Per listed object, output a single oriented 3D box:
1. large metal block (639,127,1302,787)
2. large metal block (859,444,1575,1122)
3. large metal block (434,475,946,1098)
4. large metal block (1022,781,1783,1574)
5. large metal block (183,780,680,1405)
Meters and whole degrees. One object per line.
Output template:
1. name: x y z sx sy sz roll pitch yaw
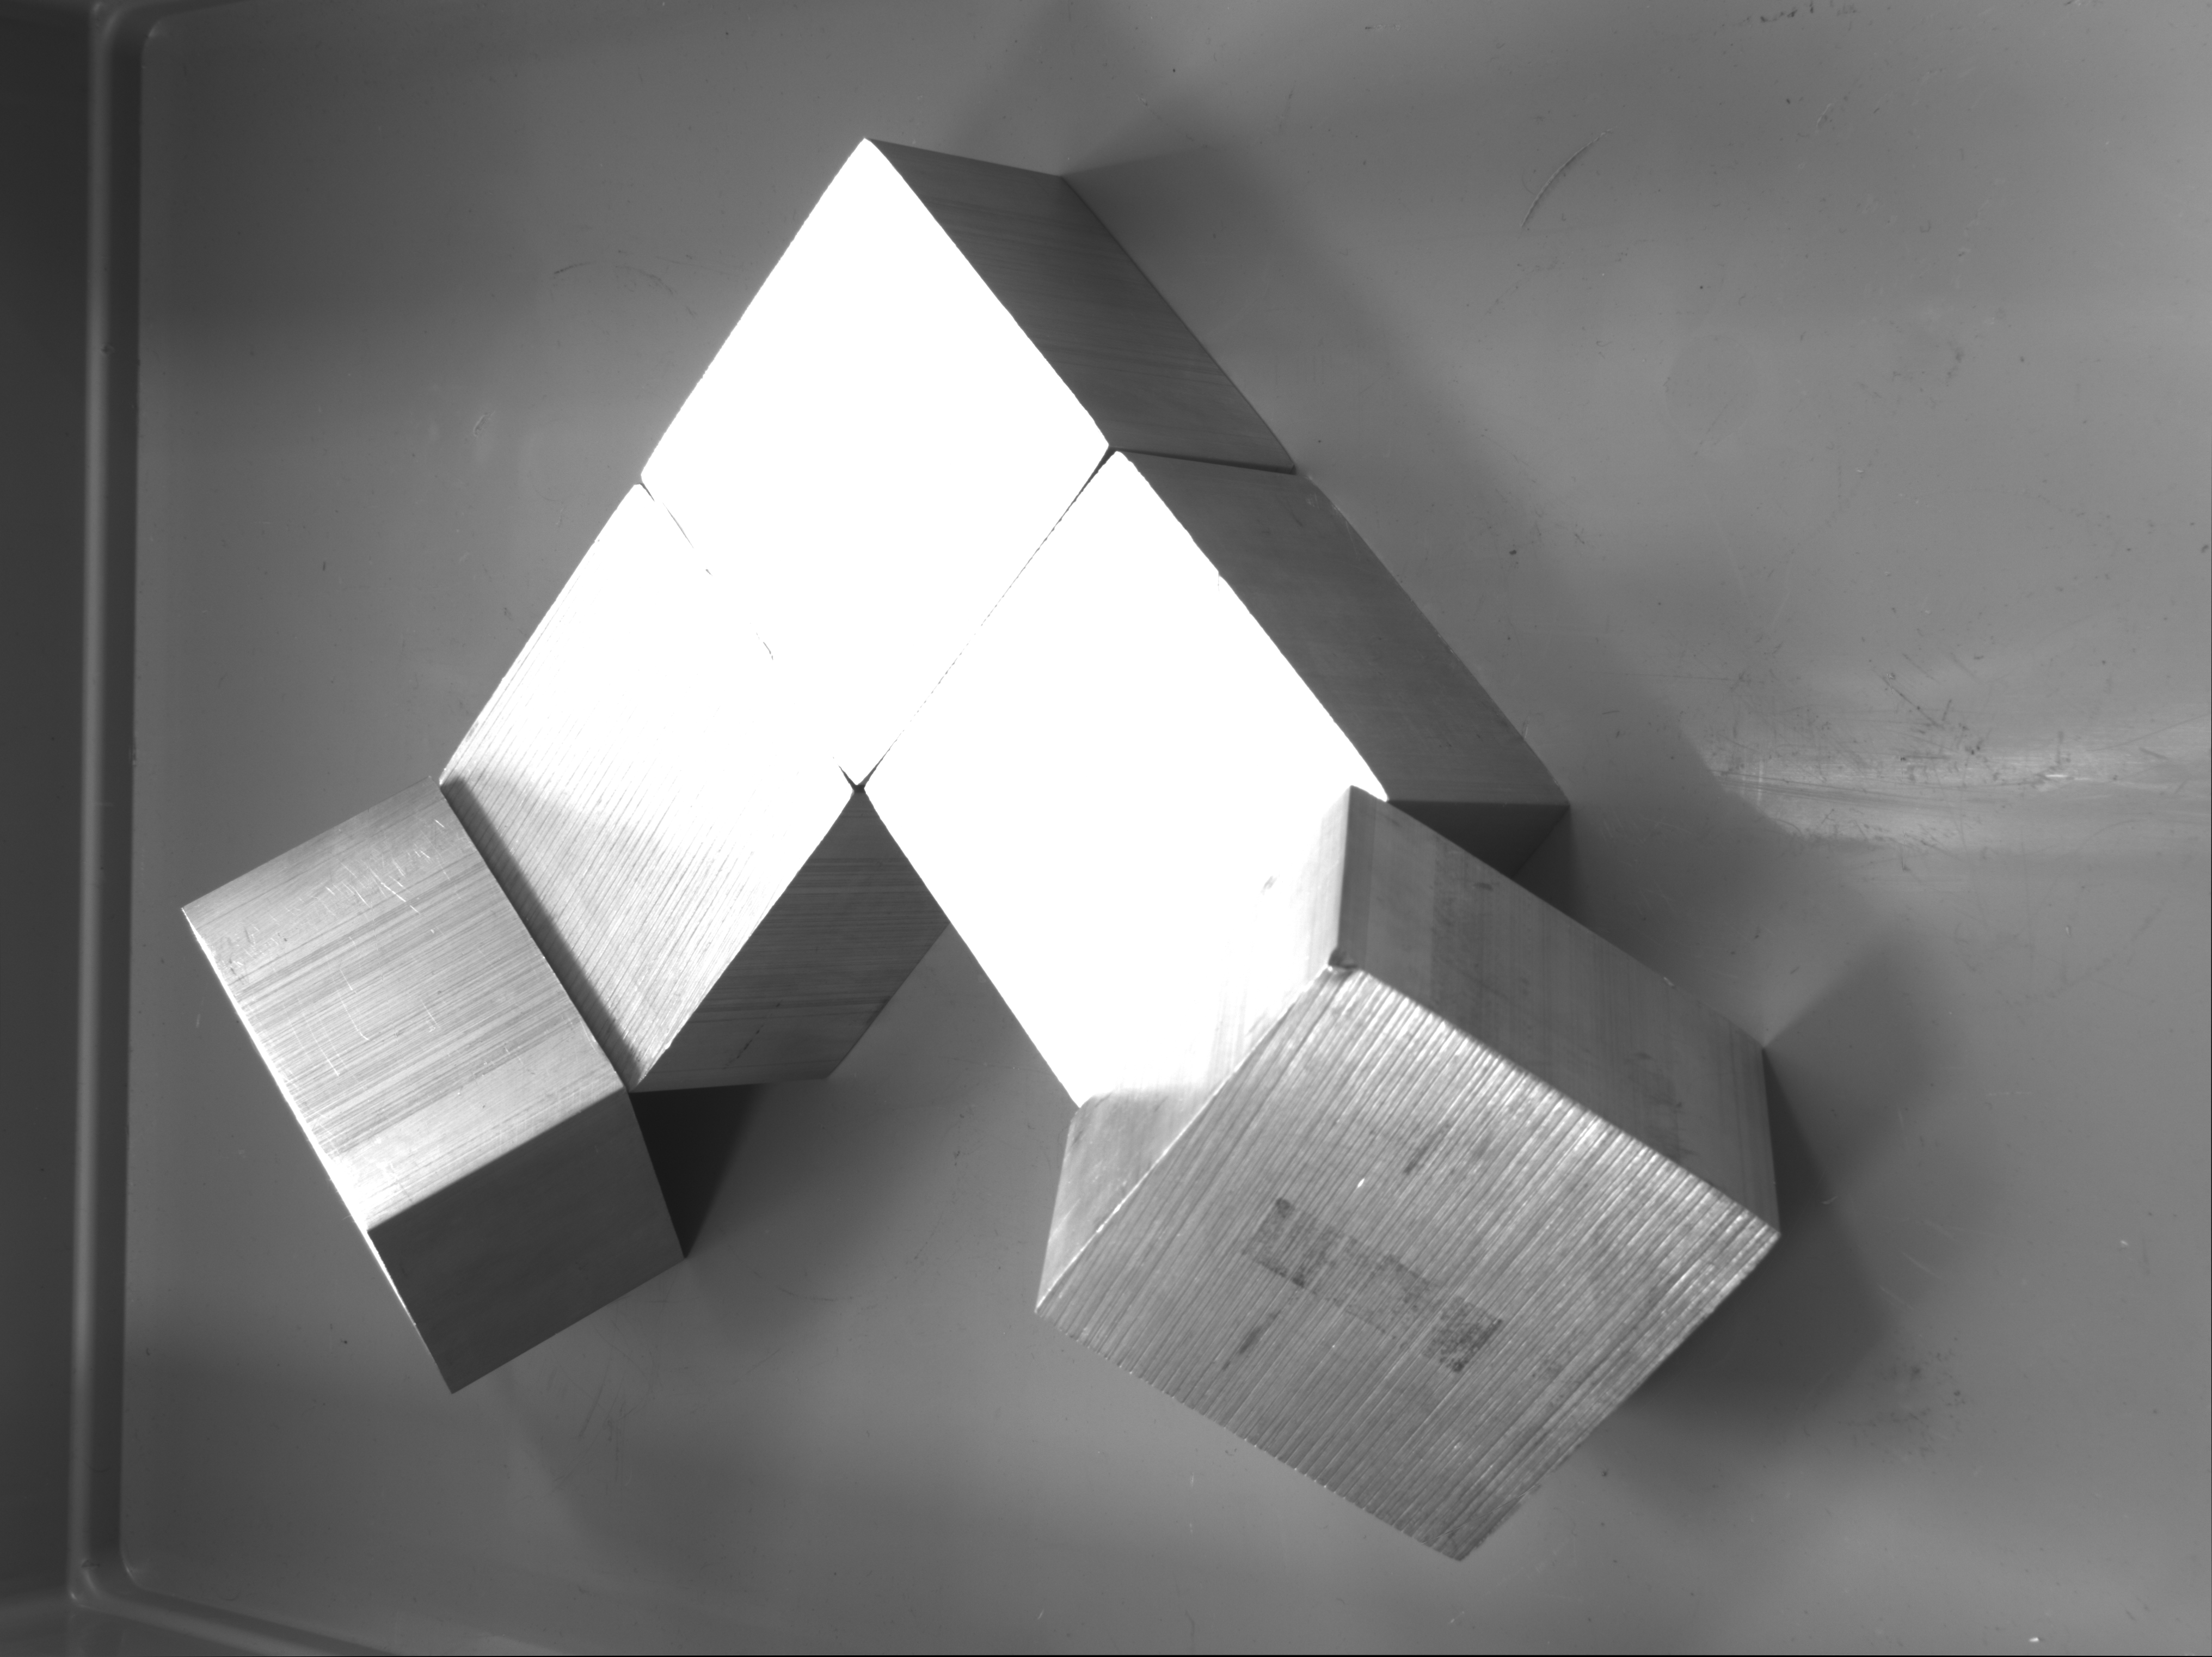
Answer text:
1. large metal block: -0.026 -0.064 0.648 0.080 0.050 0.080 -52 60 28
2. large metal block: 0.017 -0.006 0.613 0.080 0.050 0.080 -52 60 28
3. large metal block: -0.070 -0.008 0.686 0.080 0.050 0.080 -52 60 28
4. large metal block: 0.045 0.054 0.561 0.080 0.050 0.080 32 118 -12
5. large metal block: -0.128 0.052 0.707 0.080 0.050 0.080 54 164 27
